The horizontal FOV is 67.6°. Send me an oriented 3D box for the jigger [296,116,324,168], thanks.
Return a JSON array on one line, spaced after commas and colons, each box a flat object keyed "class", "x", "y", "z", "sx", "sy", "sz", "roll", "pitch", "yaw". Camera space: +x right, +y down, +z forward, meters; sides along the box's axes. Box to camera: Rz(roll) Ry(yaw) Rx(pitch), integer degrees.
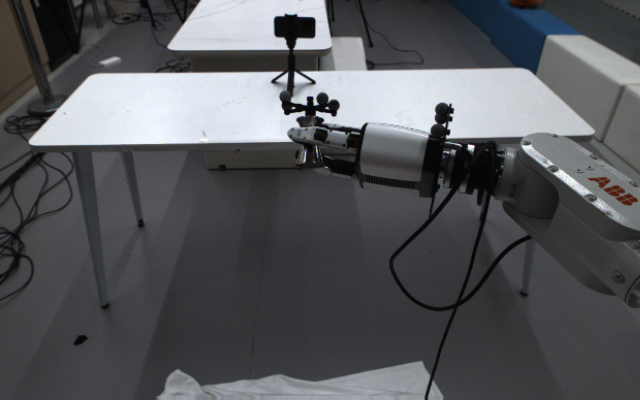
[{"class": "jigger", "x": -0.016, "y": -0.082, "z": 0.692, "sx": 0.043, "sy": 0.071, "sz": 0.043, "roll": 1, "pitch": -5, "yaw": 0}]
